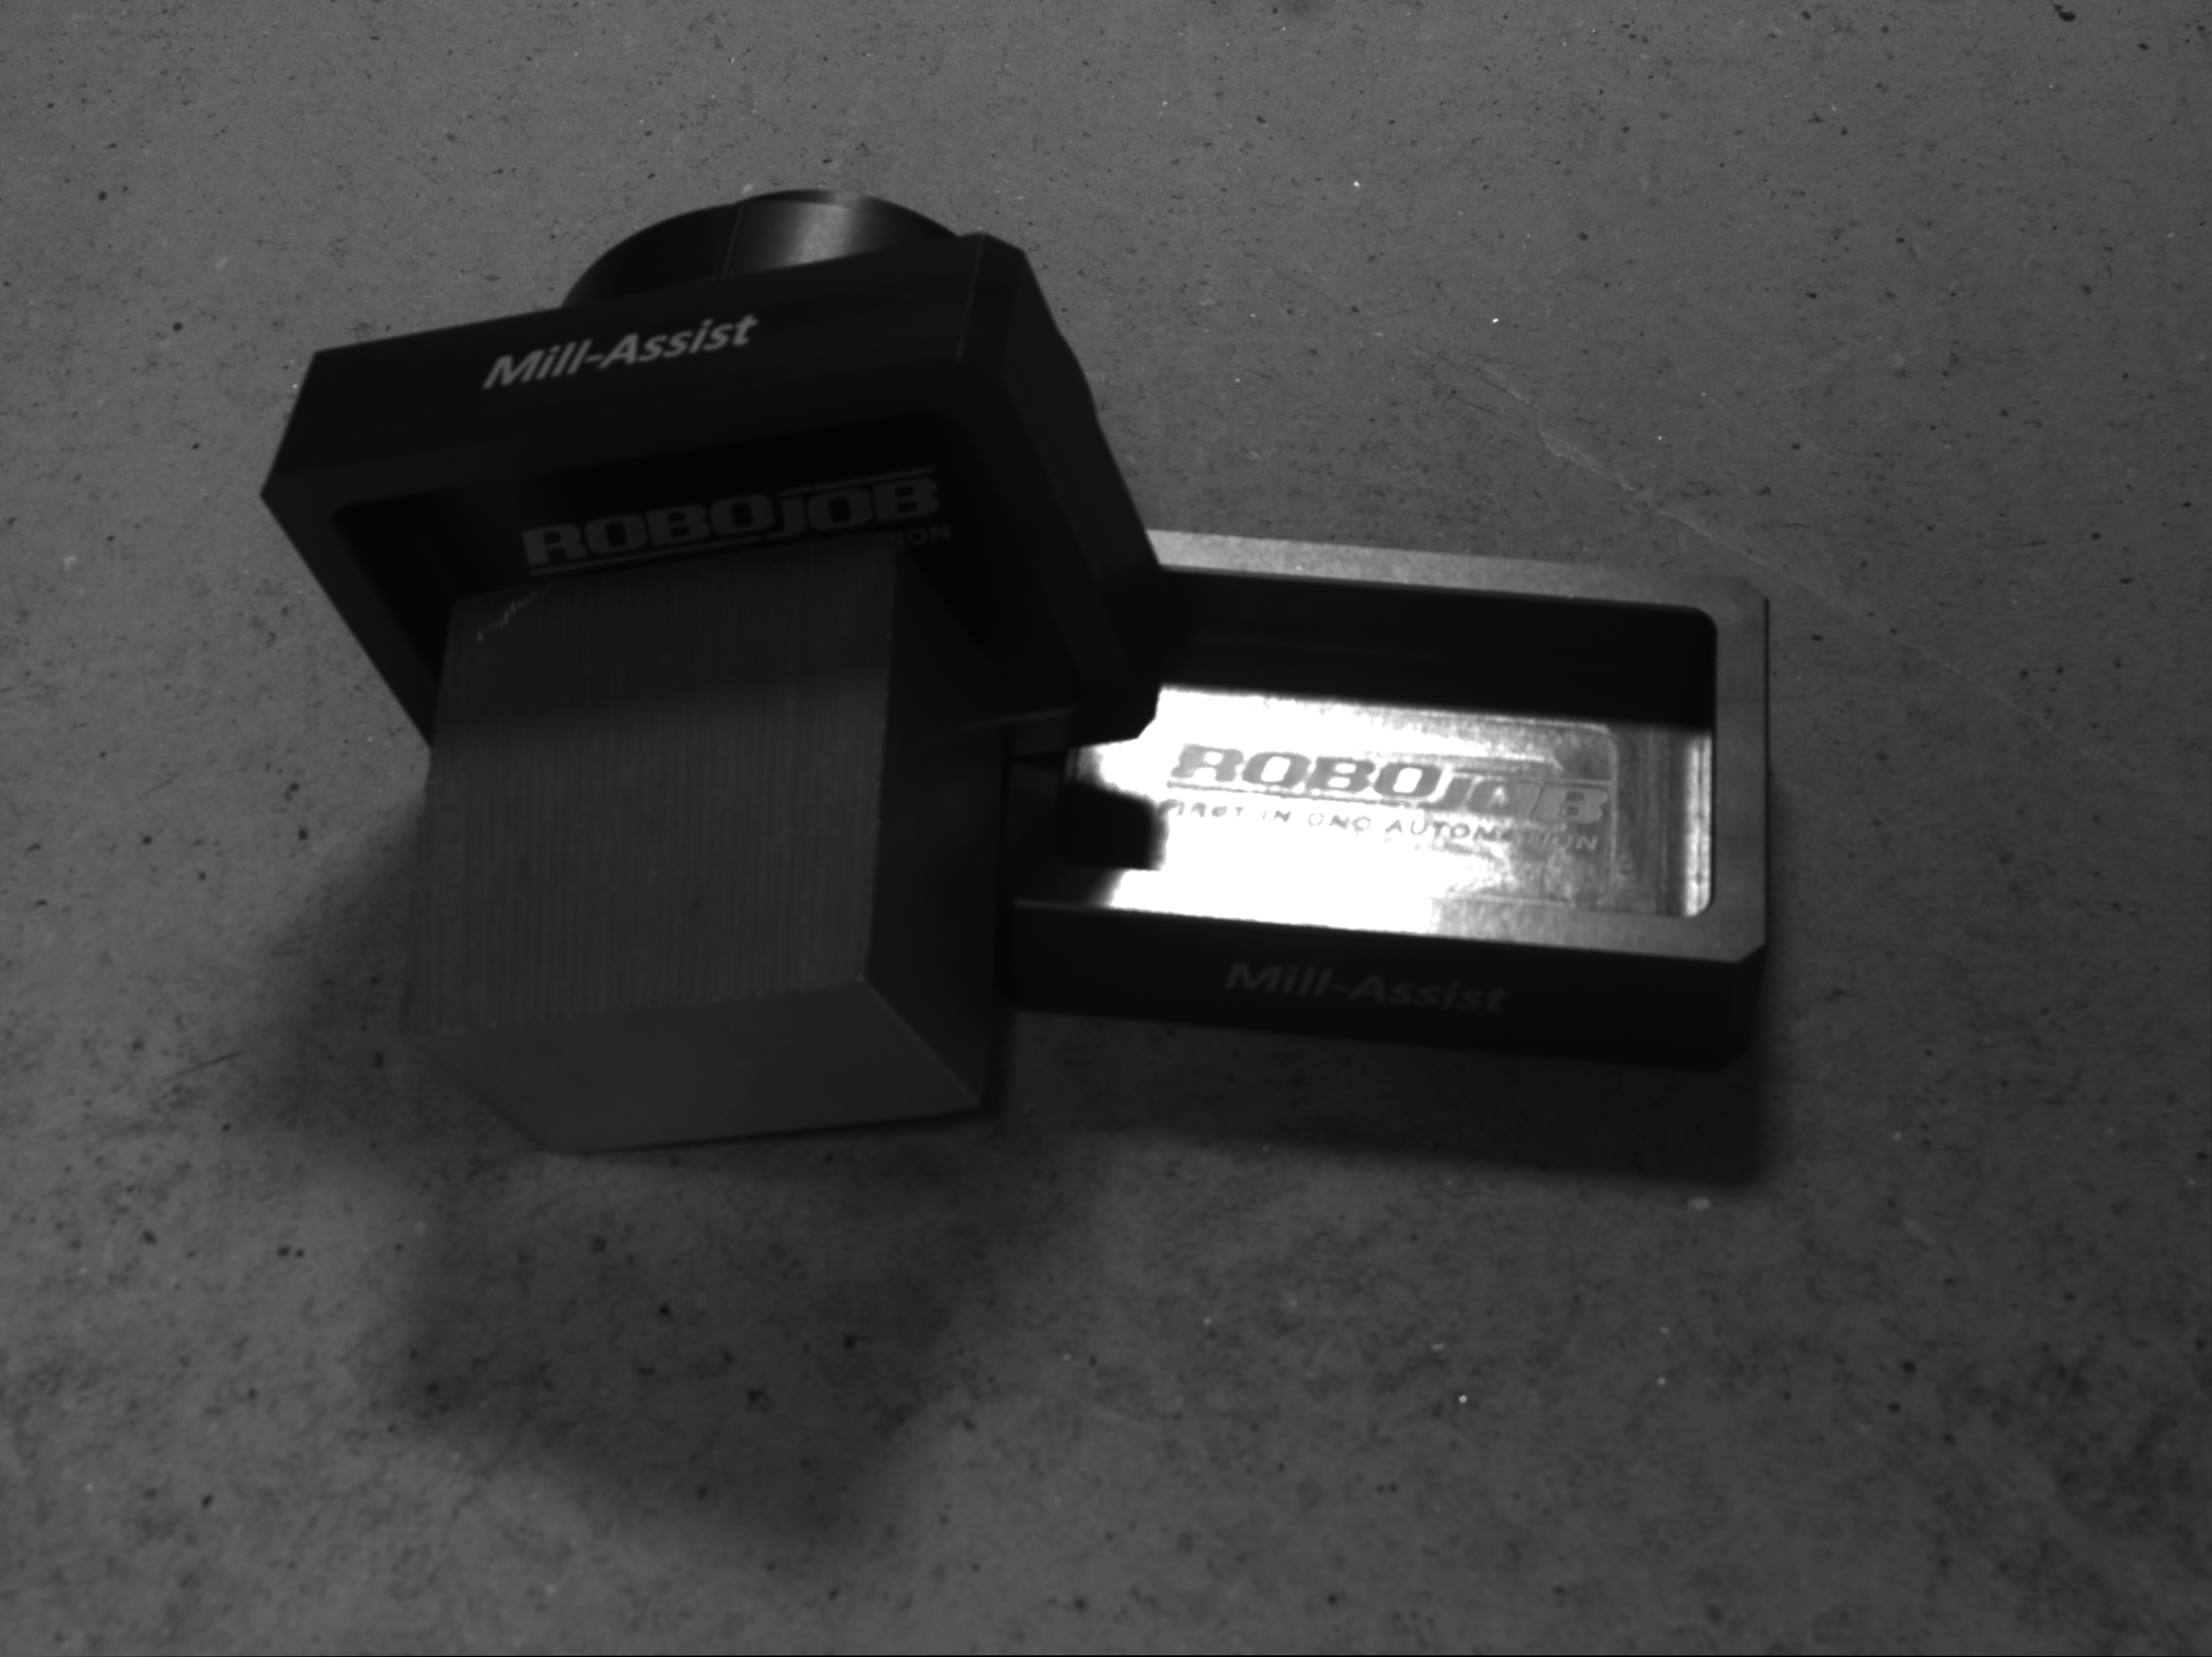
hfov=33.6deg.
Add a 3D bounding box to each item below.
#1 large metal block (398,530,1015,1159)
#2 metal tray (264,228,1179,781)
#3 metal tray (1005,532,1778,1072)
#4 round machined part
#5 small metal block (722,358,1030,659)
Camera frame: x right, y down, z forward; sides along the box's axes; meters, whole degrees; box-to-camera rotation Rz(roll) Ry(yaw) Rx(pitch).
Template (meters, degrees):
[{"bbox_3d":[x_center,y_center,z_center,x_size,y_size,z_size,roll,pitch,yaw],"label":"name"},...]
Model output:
[{"bbox_3d":[-0.063,0.004,0.598,0.080,0.050,0.080,-7,61,17],"label":"large metal block"},{"bbox_3d":[-0.063,-0.048,0.618,0.130,0.090,0.030,-7,48,18],"label":"metal tray"},{"bbox_3d":[0.051,-0.007,0.645,0.130,0.030,0.090,5,50,4],"label":"metal tray"},{"bbox_3d":[-0.048,-0.073,0.642,0.098,0.098,0.042,5,50,4],"label":"round machined part"},{"bbox_3d":[-0.043,-0.061,0.695,0.050,0.025,0.050,5,50,4],"label":"small metal block"}]
